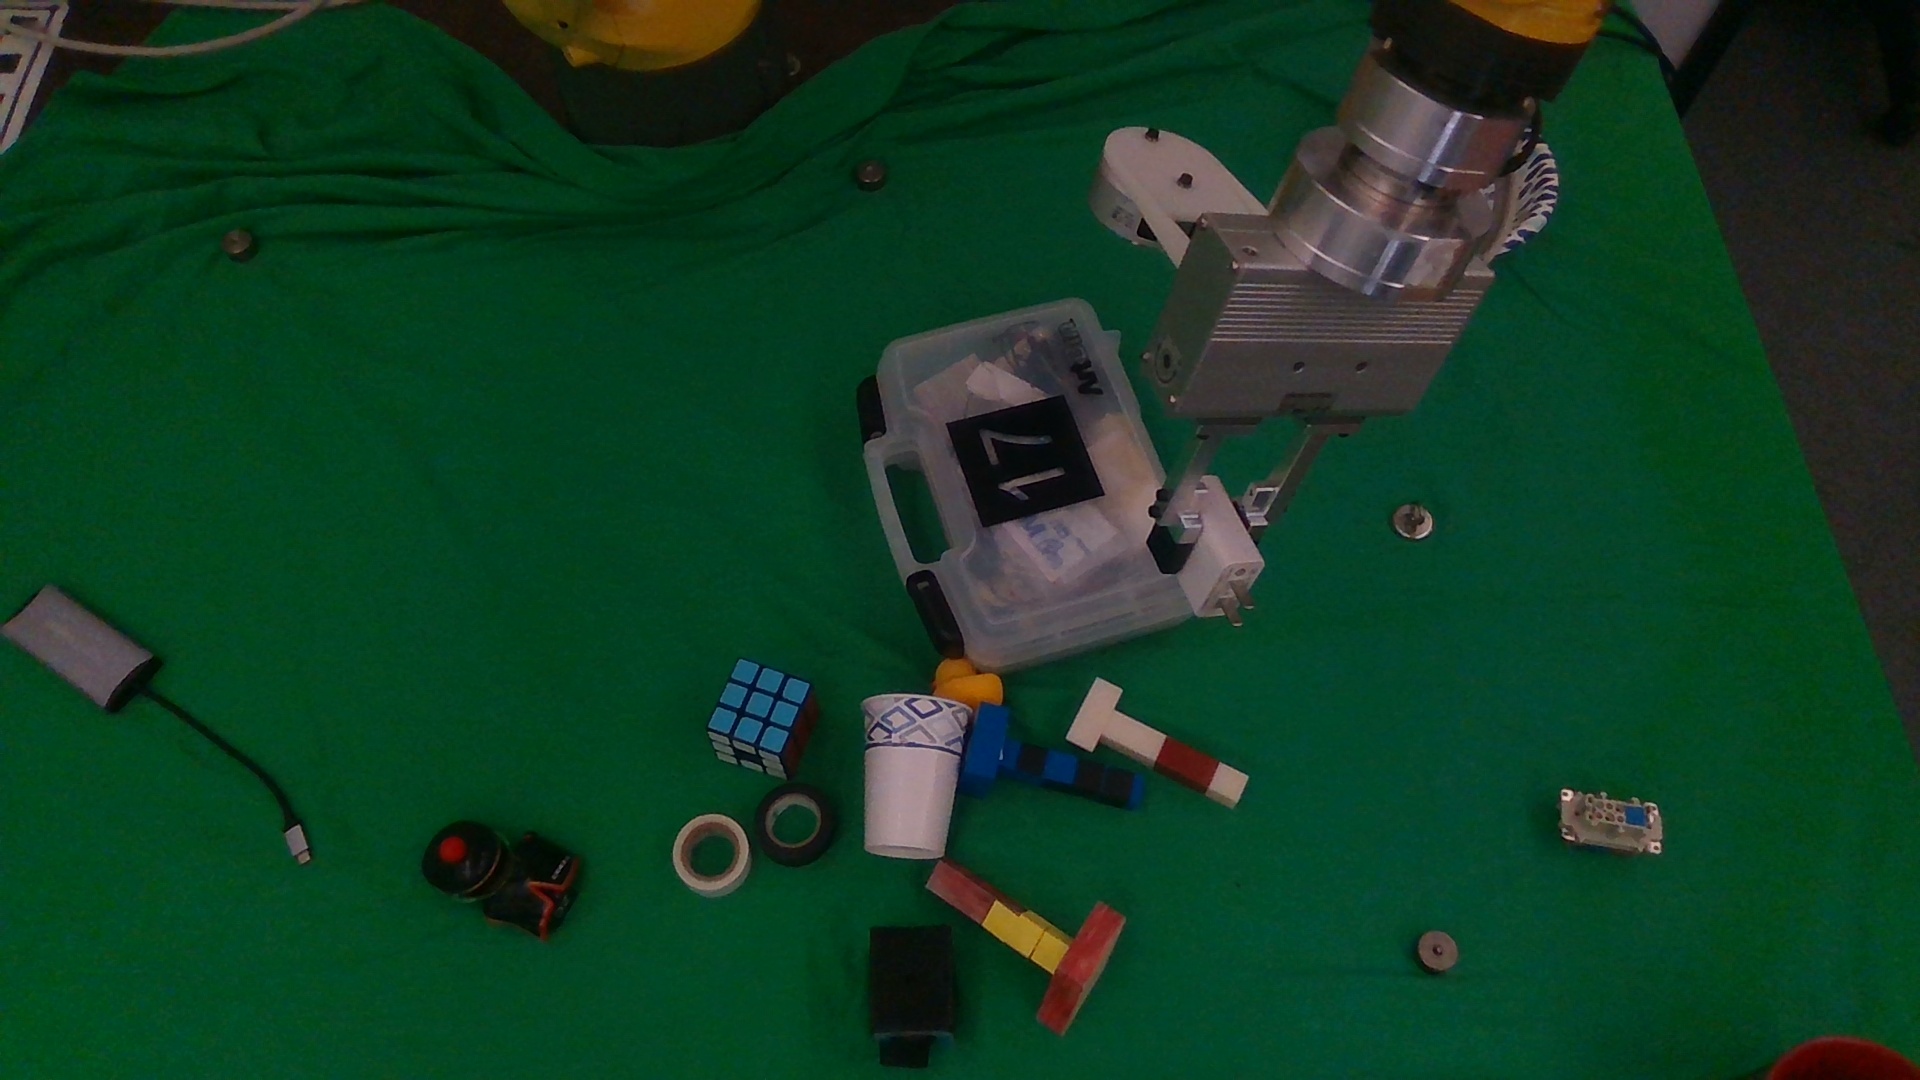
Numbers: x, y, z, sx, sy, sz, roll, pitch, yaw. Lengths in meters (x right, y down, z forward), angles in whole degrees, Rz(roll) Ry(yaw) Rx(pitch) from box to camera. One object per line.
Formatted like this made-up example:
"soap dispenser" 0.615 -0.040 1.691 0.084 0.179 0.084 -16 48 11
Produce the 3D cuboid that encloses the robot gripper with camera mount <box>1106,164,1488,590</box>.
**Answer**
"robot gripper with camera mount" 0.109 -0.093 0.635 0.119 0.159 0.193 0 41 -19

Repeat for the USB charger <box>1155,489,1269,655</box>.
"USB charger" 0.114 0.016 0.616 0.029 0.045 0.076 -2 50 -21
